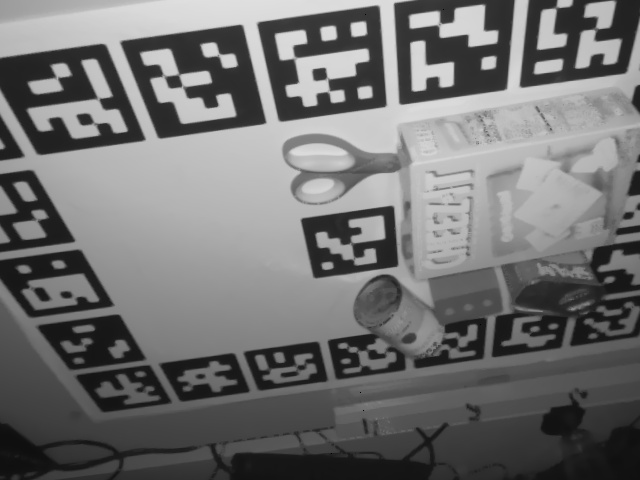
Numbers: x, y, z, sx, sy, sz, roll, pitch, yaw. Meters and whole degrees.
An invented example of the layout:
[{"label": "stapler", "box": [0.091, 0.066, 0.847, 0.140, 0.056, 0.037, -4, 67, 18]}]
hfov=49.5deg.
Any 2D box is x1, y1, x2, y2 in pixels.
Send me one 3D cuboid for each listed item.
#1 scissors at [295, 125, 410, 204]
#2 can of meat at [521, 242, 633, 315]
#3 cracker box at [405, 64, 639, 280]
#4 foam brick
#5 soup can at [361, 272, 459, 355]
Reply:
[{"label": "scissors", "box": [0.081, -0.086, 0.667, 0.202, 0.016, 0.087, -12, 132, 5]}, {"label": "can of meat", "box": [0.275, 0.032, 0.760, 0.102, 0.084, 0.057, 2, 131, -7]}, {"label": "cracker box", "box": [0.202, -0.057, 0.663, 0.213, 0.072, 0.163, -15, 133, 3]}, {"label": "foam brick", "box": [0.184, 0.056, 0.799, 0.078, 0.052, 0.052, -16, 131, 10]}, {"label": "soup can", "box": [0.107, 0.089, 0.819, 0.103, 0.068, 0.067, 31, 123, -35]}]
